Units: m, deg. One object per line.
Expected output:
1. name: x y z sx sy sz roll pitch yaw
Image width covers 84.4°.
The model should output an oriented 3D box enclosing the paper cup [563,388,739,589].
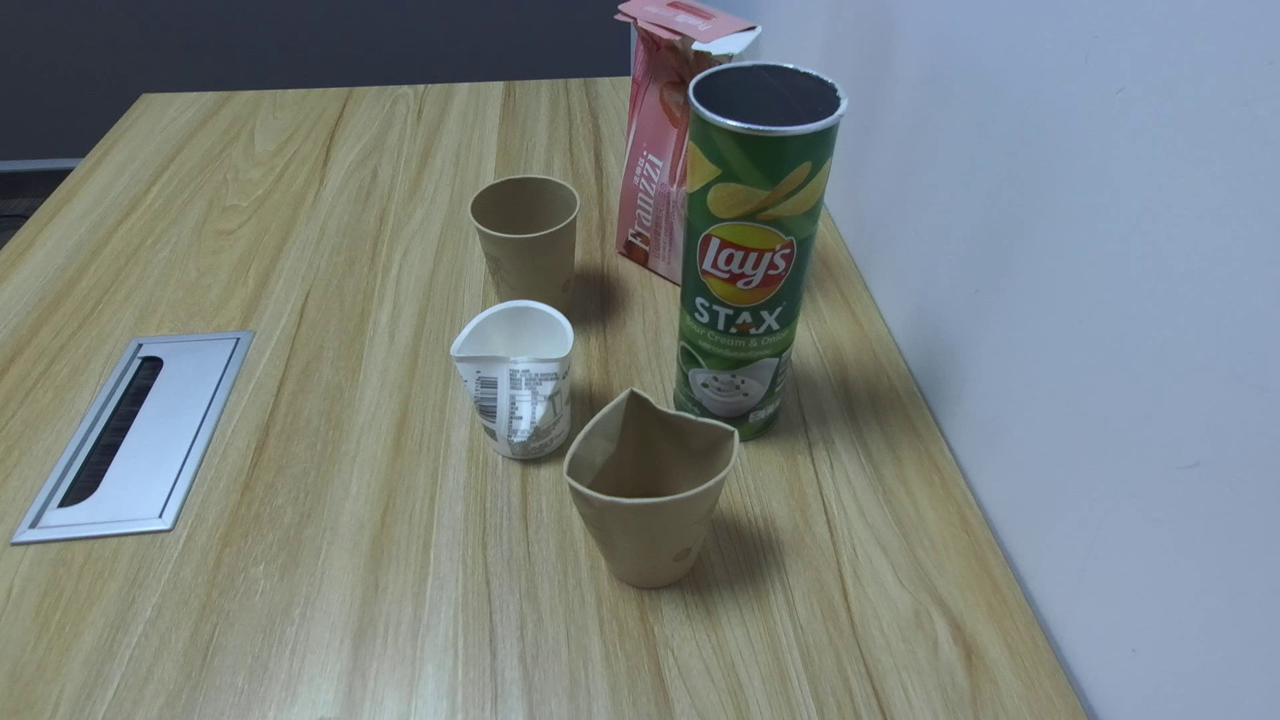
1. paper cup: 0.006 0.070 0.349 0.071 0.084 0.066 20 47 19

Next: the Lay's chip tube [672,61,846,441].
1. Lay's chip tube: 0.056 -0.047 0.381 0.071 0.203 0.071 0 45 1

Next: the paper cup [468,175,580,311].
1. paper cup: -0.075 -0.071 0.491 0.075 0.082 0.075 0 41 0

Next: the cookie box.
1. cookie box: 0.028 -0.144 0.494 0.055 0.184 0.118 -29 49 -28

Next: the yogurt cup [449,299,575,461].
1. yogurt cup: -0.069 0.013 0.416 0.067 0.070 0.067 -1 44 2
